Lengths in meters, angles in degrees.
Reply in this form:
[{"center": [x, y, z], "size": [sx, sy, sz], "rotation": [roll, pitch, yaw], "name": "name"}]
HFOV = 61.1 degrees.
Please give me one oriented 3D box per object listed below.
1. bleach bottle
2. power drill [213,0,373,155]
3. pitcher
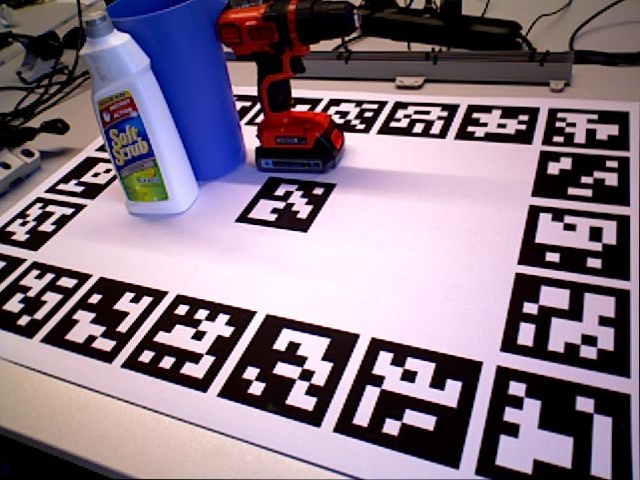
[{"center": [-0.238, -0.160, 0.632], "size": [0.103, 0.255, 0.066], "rotation": [2, 44, 17], "name": "bleach bottle"}, {"center": [-0.027, -0.195, 0.658], "size": [0.185, 0.191, 0.056], "rotation": [8, 48, 14], "name": "power drill"}, {"center": [-0.189, -0.211, 0.705], "size": [0.188, 0.247, 0.131], "rotation": [-11, 43, 3], "name": "pitcher"}]
